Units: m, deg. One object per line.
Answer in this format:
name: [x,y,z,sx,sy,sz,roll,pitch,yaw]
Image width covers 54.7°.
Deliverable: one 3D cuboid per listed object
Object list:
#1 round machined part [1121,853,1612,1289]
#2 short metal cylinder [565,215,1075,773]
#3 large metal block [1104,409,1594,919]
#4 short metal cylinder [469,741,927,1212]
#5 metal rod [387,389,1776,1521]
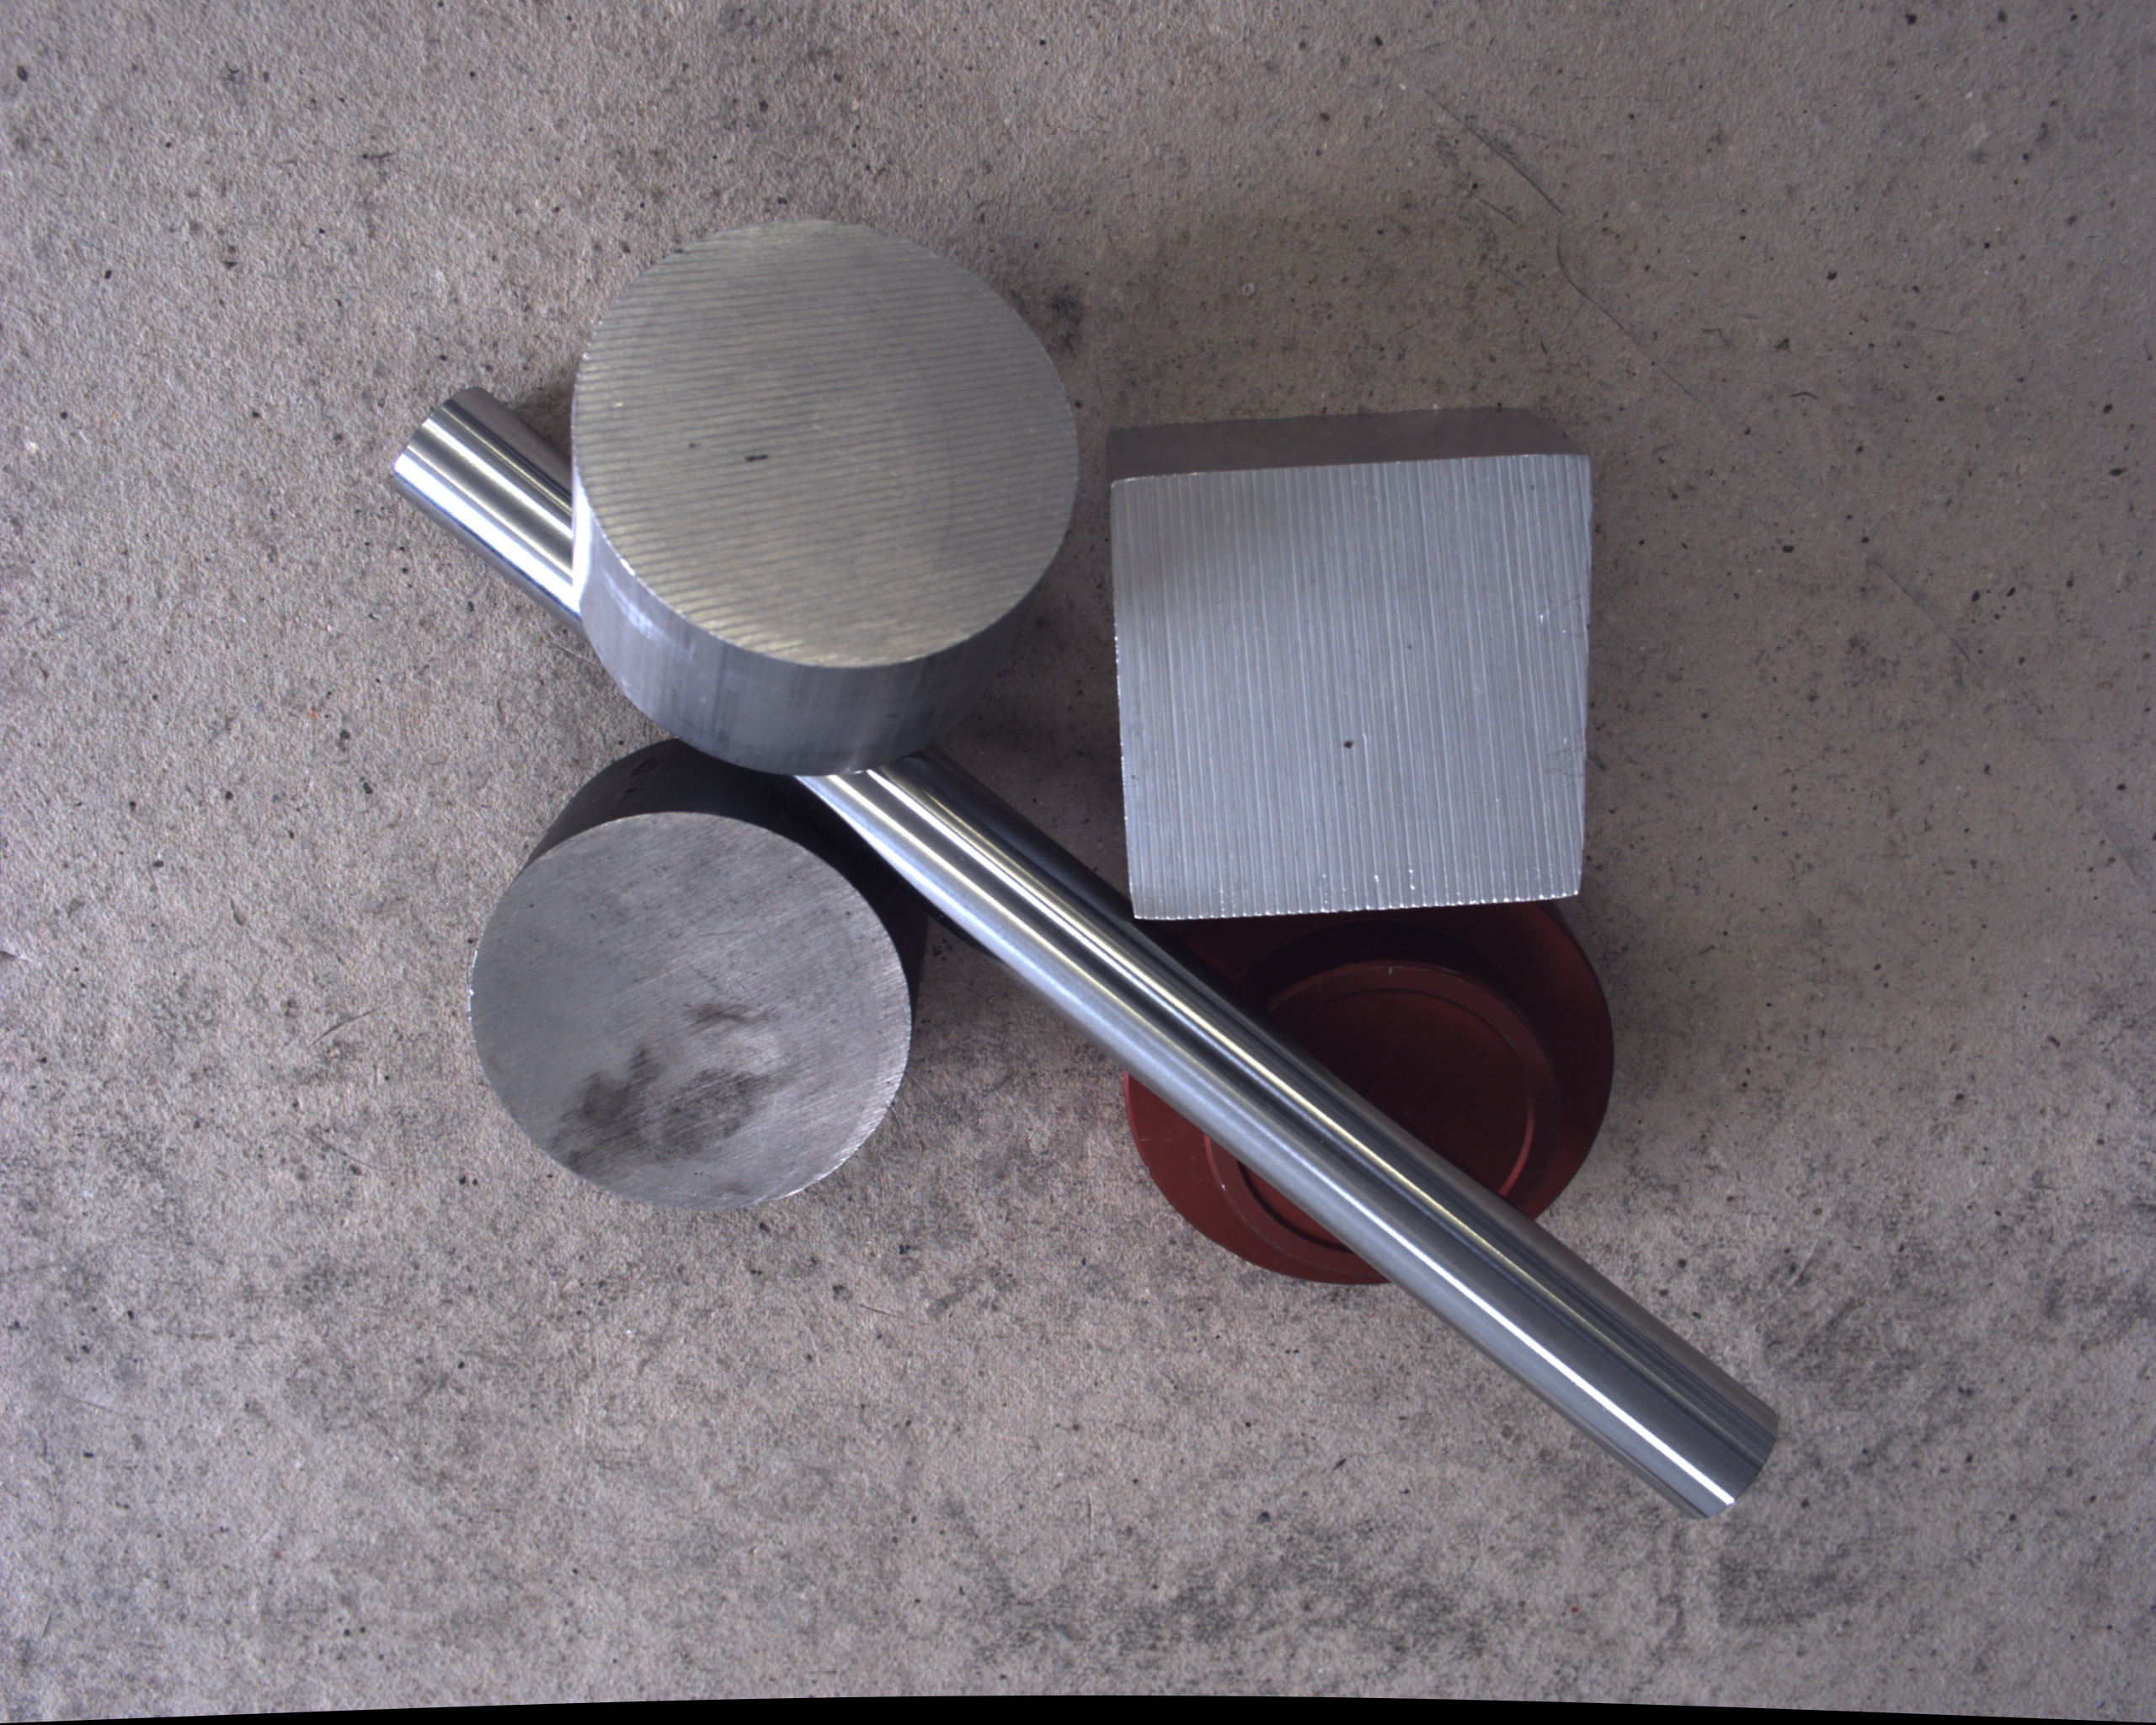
round machined part: [0.058,0.044,0.418,0.099,0.042,0.097,0,110,0]
short metal cylinder: [-0.046,-0.061,0.355,0.081,0.050,0.080,4,72,-13]
large metal block: [0.047,-0.038,0.382,0.080,0.050,0.079,-3,110,1]
short metal cylinder: [-0.071,0.020,0.405,0.081,0.050,0.079,0,110,0]
metal rod: [0.000,0.016,0.381,0.300,0.025,0.025,38,106,0]
